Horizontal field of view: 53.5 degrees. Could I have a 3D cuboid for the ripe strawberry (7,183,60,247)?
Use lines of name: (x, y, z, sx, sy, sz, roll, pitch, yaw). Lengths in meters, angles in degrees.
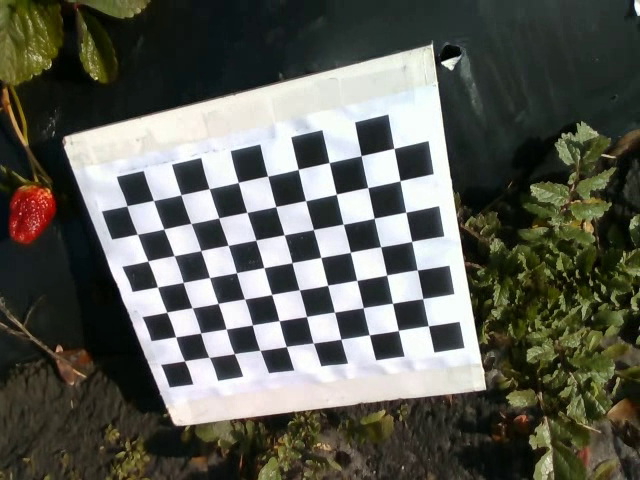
ripe strawberry: (-0.086, -0.008, 0.189, 0.015, 0.023, 0.015, -3, -30, 11)
